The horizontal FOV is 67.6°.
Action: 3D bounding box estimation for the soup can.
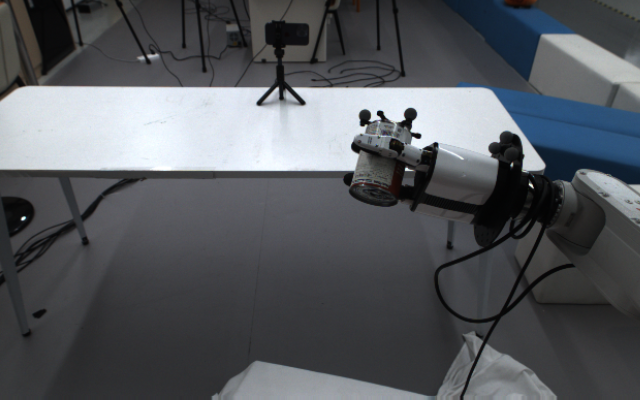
[{"bbox_3d":[0.085,-0.050,0.667,0.067,0.067,0.101,11,72,13],"label":"soup can"}]
